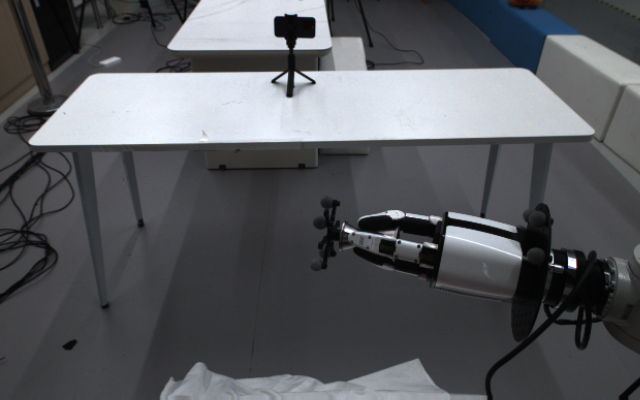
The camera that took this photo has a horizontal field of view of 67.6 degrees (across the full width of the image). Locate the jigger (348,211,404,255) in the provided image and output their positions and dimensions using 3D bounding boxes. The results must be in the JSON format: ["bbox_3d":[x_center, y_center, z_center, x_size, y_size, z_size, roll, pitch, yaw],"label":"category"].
[{"bbox_3d":[0.068,0.046,0.598,0.071,0.043,0.043,7,35,15],"label":"jigger"}]
